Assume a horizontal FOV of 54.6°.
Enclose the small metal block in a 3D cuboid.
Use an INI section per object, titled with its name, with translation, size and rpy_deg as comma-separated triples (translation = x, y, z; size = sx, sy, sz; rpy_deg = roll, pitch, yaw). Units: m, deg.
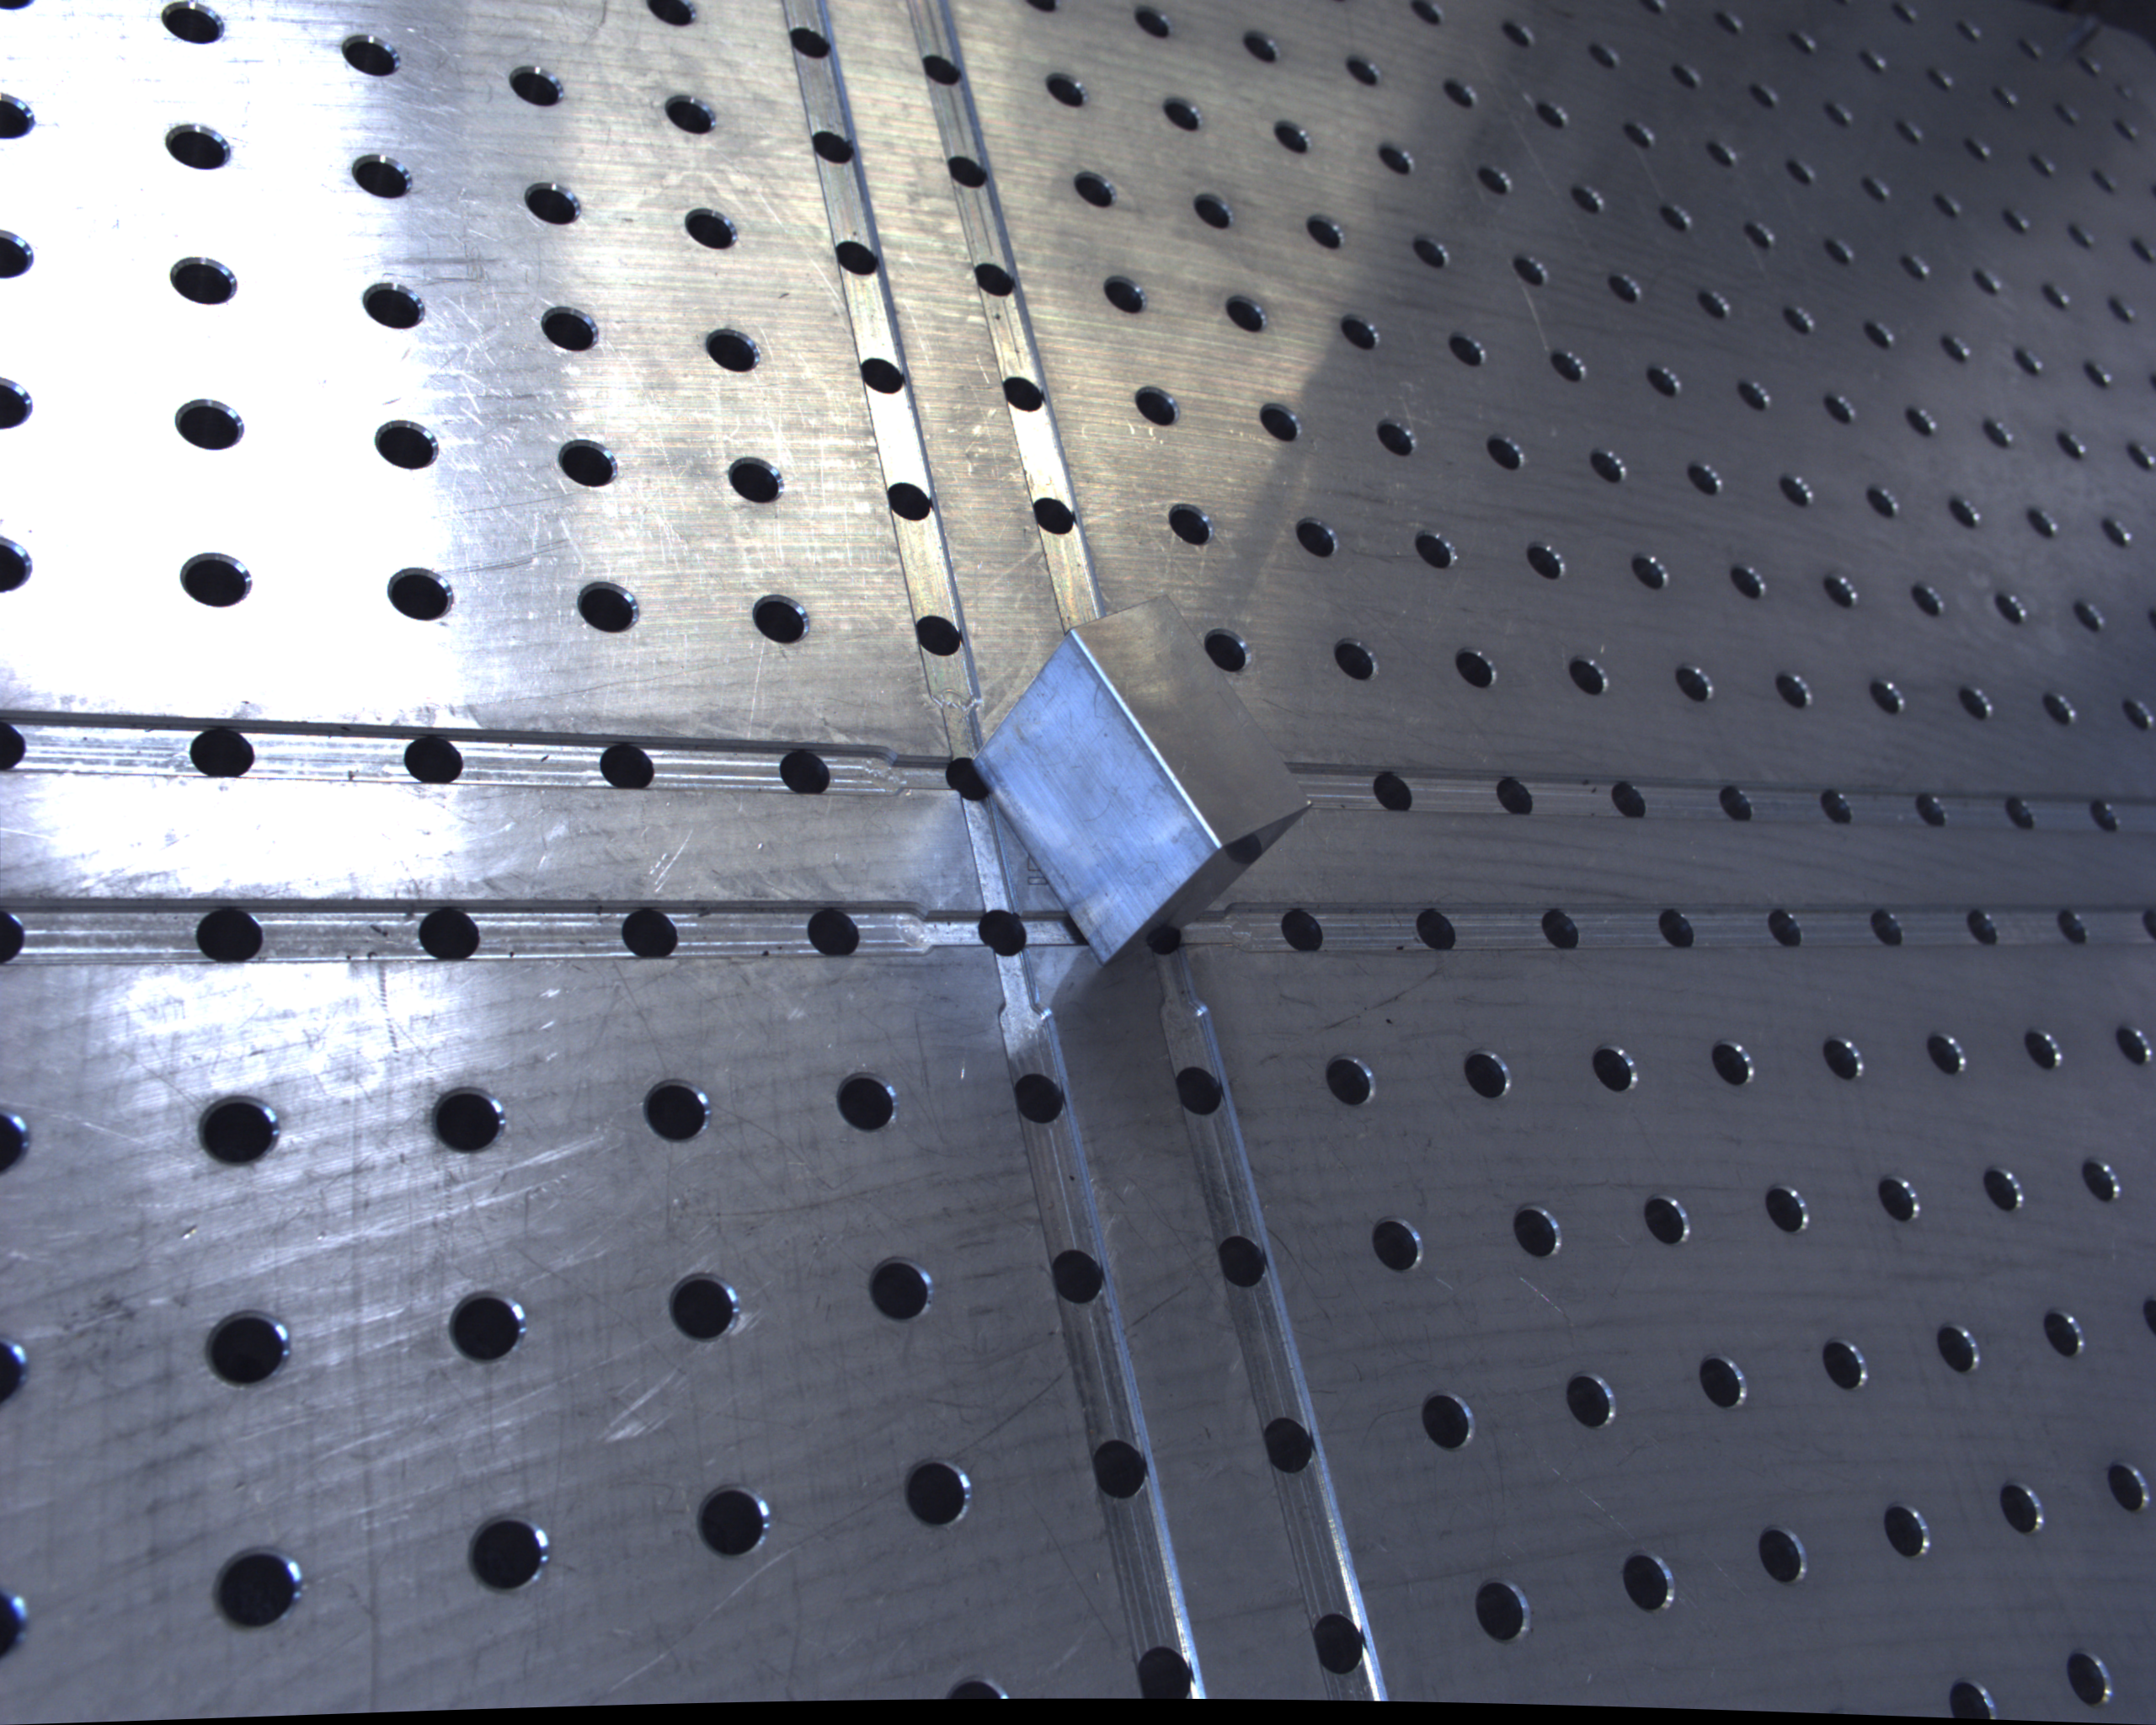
[small metal block]
translation = 0.011, -0.015, 0.407
size = 0.025, 0.050, 0.050
rpy_deg = -25, 76, -37
